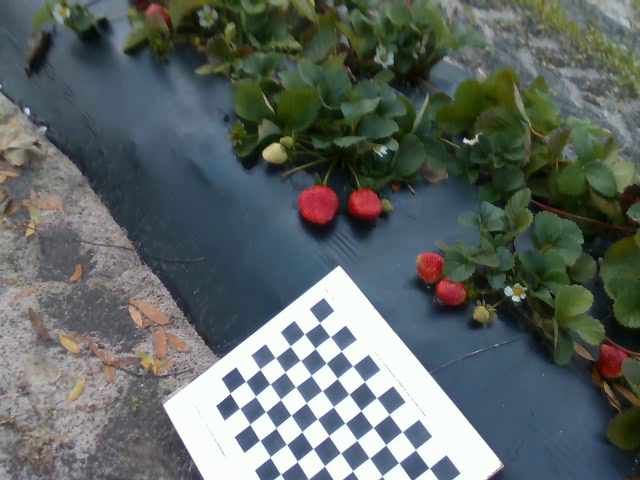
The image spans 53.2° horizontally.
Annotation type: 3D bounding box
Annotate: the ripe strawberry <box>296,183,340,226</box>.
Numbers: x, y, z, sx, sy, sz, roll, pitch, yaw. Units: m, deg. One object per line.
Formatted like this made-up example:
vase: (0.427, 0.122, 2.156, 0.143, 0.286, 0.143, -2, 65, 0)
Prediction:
ripe strawberry: (-0.003, -0.042, 0.850, 0.058, 0.065, 0.044, -15, -41, 16)

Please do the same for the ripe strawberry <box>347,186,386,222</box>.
ripe strawberry: (0.062, -0.045, 0.860, 0.050, 0.051, 0.060, -20, 16, 14)

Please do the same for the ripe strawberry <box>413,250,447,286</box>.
ripe strawberry: (0.140, 0.034, 0.806, 0.053, 0.047, 0.038, 30, -5, -8)

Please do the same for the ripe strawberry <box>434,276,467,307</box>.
ripe strawberry: (0.159, 0.061, 0.777, 0.043, 0.041, 0.049, 45, 24, 27)
